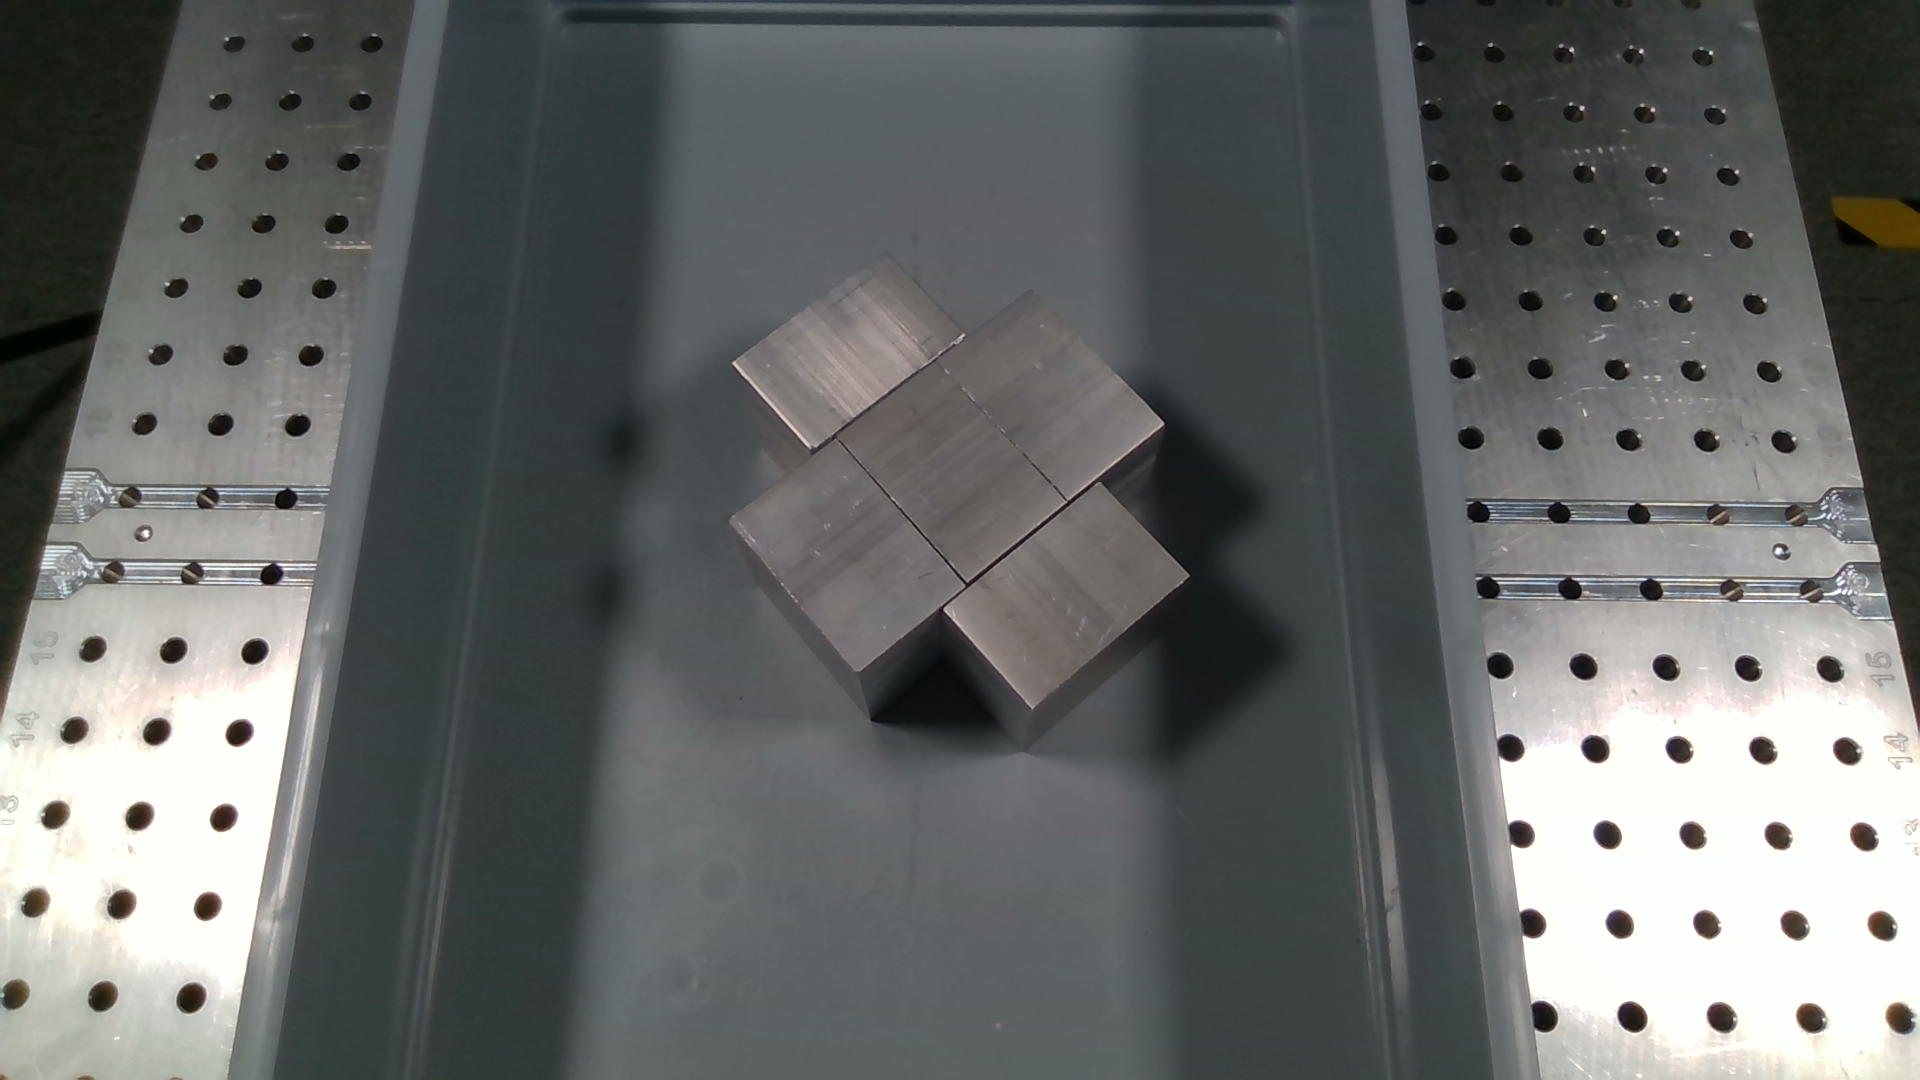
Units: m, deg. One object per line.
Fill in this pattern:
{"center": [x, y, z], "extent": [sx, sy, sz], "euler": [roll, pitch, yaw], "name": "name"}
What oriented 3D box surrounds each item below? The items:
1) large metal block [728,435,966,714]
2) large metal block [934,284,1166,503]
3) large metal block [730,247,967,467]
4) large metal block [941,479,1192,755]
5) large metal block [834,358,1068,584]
{"center": [-0.043, 0.017, 0.553], "extent": [0.050, 0.080, 0.080], "euler": [-39, 75, -13], "name": "large metal block"}
{"center": [0.035, -0.045, 0.574], "extent": [0.050, 0.080, 0.080], "euler": [-39, 75, -13], "name": "large metal block"}
{"center": [-0.044, -0.063, 0.581], "extent": [0.080, 0.080, 0.050], "euler": [-39, 75, -13], "name": "large metal block"}
{"center": [0.040, 0.033, 0.547], "extent": [0.080, 0.080, 0.050], "euler": [-39, 75, -13], "name": "large metal block"}
{"center": [-0.004, -0.014, 0.564], "extent": [0.050, 0.080, 0.080], "euler": [-39, 75, -13], "name": "large metal block"}
